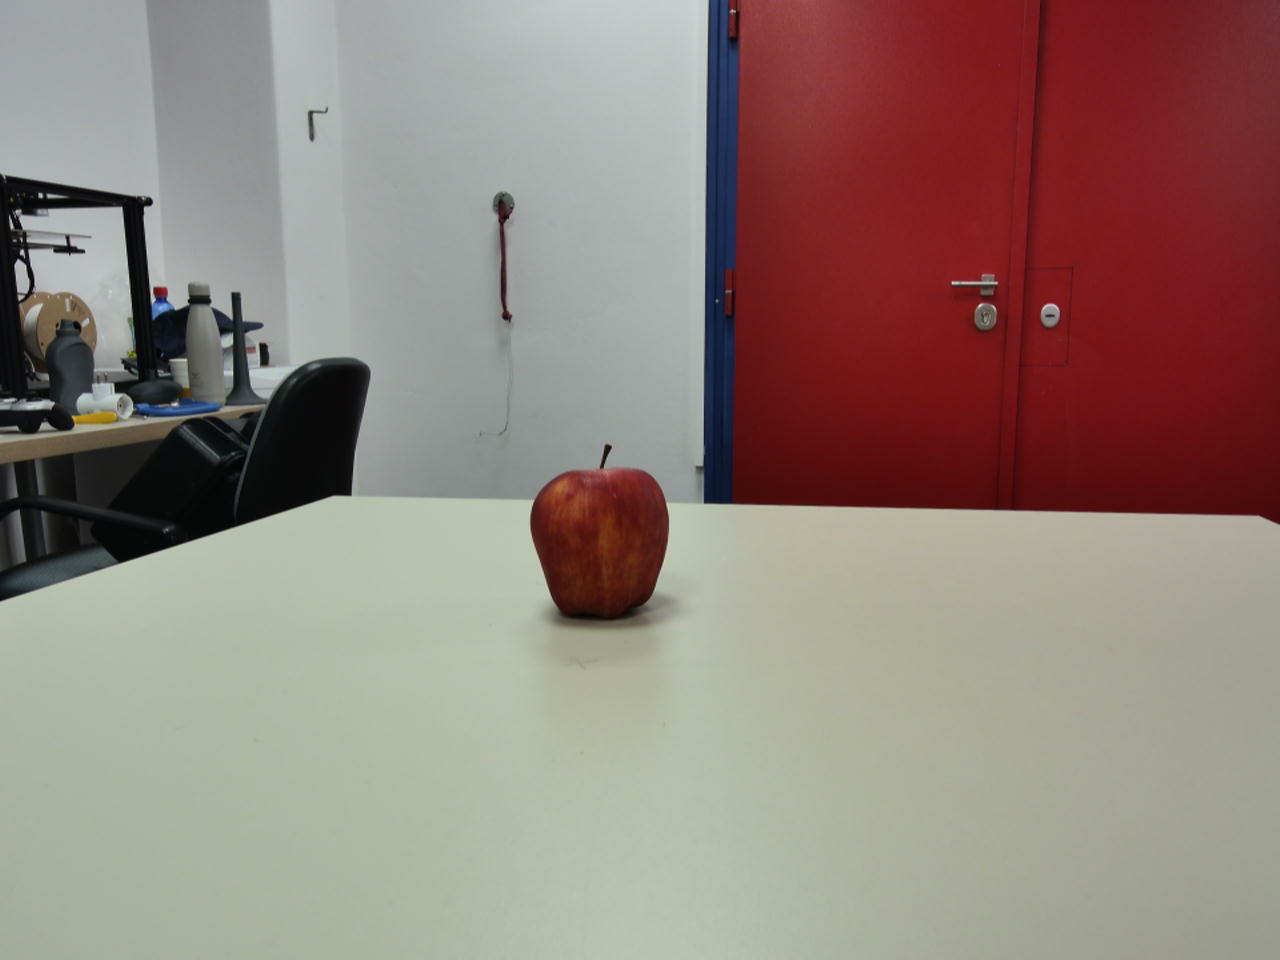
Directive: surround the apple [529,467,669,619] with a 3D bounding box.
[{"bbox_3d":[-0.022,0.027,0.542,0.083,0.090,0.083,-1,6,0],"label":"apple"}]
